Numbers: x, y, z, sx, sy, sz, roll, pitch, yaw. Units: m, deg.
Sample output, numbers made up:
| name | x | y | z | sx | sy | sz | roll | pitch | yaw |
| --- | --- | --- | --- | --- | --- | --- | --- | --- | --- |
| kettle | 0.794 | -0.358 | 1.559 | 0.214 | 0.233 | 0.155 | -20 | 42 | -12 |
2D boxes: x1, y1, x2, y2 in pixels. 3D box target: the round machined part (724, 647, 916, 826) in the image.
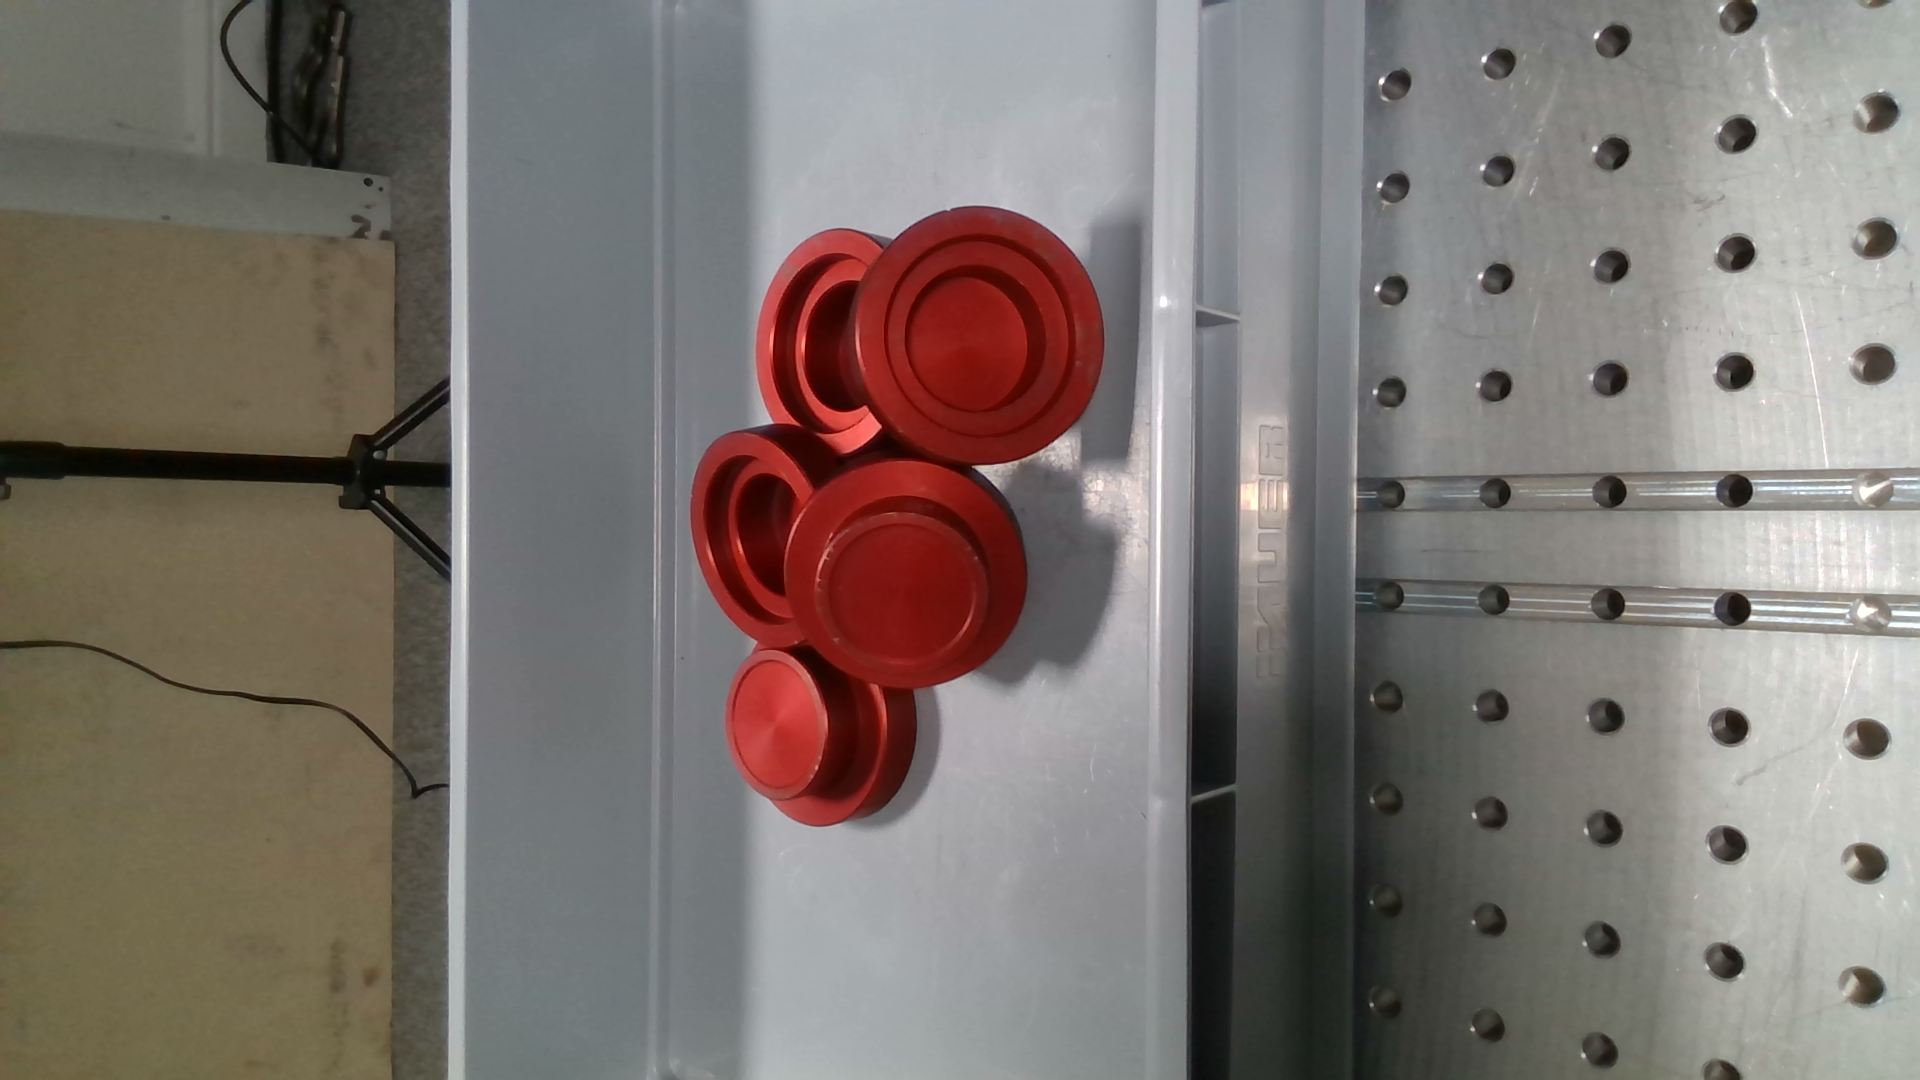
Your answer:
| name | x | y | z | sx | sy | sz | roll | pitch | yaw |
| --- | --- | --- | --- | --- | --- | --- | --- | --- | --- |
| round machined part | -0.070 | 0.082 | 0.629 | 0.098 | 0.042 | 0.098 | 0 | 91 | 40 |

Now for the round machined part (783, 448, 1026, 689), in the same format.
| name | x | y | z | sx | sy | sz | roll | pitch | yaw |
| --- | --- | --- | --- | --- | --- | --- | --- | --- | --- |
| round machined part | -0.022 | 0.015 | 0.553 | 0.098 | 0.042 | 0.098 | 0 | 107 | 1 |

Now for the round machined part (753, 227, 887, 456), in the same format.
| name | x | y | z | sx | sy | sz | roll | pitch | yaw |
| --- | --- | --- | --- | --- | --- | --- | --- | --- | --- |
| round machined part | -0.043 | -0.085 | 0.604 | 0.098 | 0.042 | 0.098 | 0 | 91 | 40 |

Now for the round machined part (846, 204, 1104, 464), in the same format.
| name | x | y | z | sx | sy | sz | roll | pitch | yaw |
| --- | --- | --- | --- | --- | --- | --- | --- | --- | --- |
| round machined part | 0.003 | -0.079 | 0.542 | 0.042 | 0.098 | 0.098 | -170 | 82 | -76 |

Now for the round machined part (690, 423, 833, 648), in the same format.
| name | x | y | z | sx | sy | sz | roll | pitch | yaw |
| --- | --- | --- | --- | --- | --- | --- | --- | --- | --- |
| round machined part | -0.075 | -0.004 | 0.618 | 0.098 | 0.042 | 0.098 | 18 | 116 | 42 |
